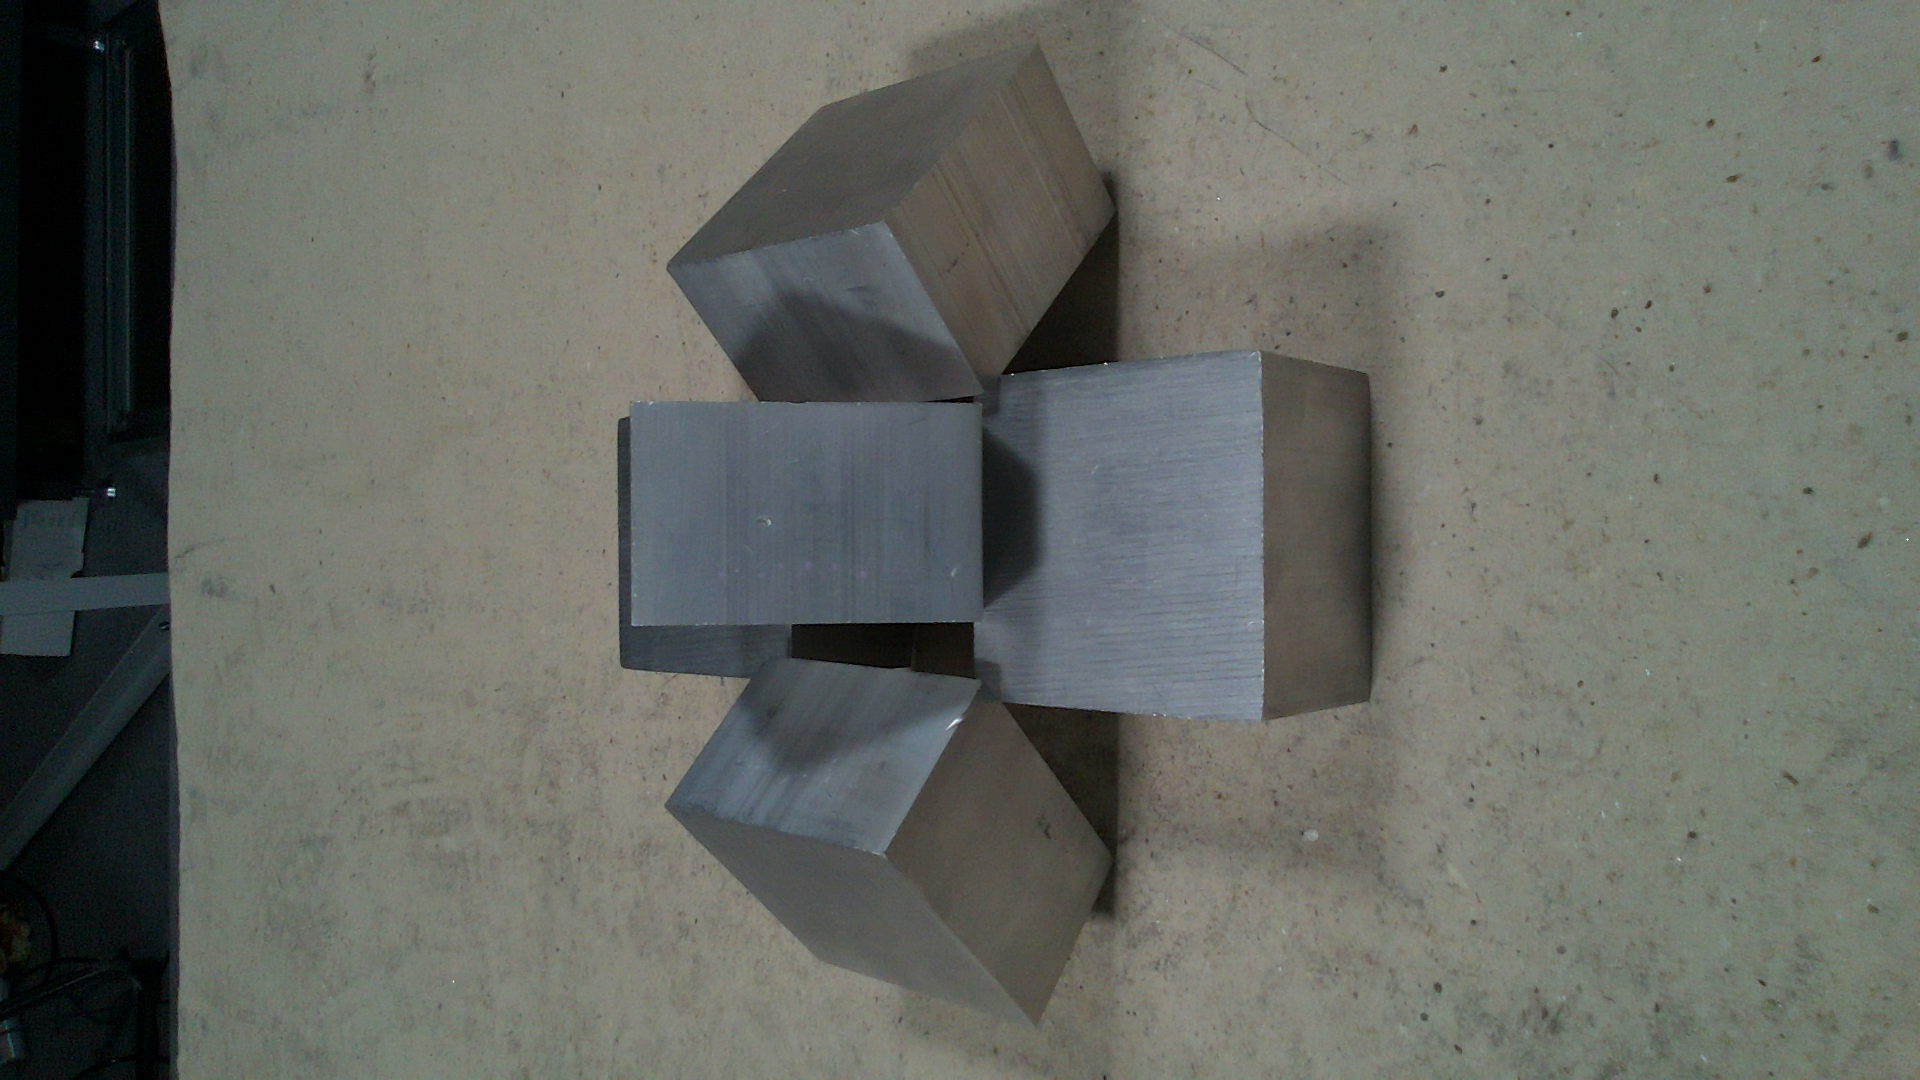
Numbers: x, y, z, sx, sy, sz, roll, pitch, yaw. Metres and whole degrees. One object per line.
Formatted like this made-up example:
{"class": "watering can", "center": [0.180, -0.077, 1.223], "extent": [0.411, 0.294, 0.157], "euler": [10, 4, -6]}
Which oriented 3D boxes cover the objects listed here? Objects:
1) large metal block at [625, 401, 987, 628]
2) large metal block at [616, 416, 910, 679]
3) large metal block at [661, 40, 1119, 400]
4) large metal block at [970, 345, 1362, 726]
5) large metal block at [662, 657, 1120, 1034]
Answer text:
{"class": "large metal block", "center": [-0.038, -0.006, 0.348], "extent": [0.080, 0.080, 0.050], "euler": [176, 93, -84]}
{"class": "large metal block", "center": [-0.062, 0.000, 0.431], "extent": [0.080, 0.050, 0.080], "euler": [-1, 90, 40]}
{"class": "large metal block", "center": [-0.017, -0.081, 0.365], "extent": [0.080, 0.080, 0.050], "euler": [-1, 133, 40]}
{"class": "large metal block", "center": [0.049, -0.001, 0.334], "extent": [0.080, 0.050, 0.080], "euler": [0, 90, 40]}
{"class": "large metal block", "center": [-0.017, 0.079, 0.365], "extent": [0.080, 0.080, 0.050], "euler": [1, 48, 41]}
